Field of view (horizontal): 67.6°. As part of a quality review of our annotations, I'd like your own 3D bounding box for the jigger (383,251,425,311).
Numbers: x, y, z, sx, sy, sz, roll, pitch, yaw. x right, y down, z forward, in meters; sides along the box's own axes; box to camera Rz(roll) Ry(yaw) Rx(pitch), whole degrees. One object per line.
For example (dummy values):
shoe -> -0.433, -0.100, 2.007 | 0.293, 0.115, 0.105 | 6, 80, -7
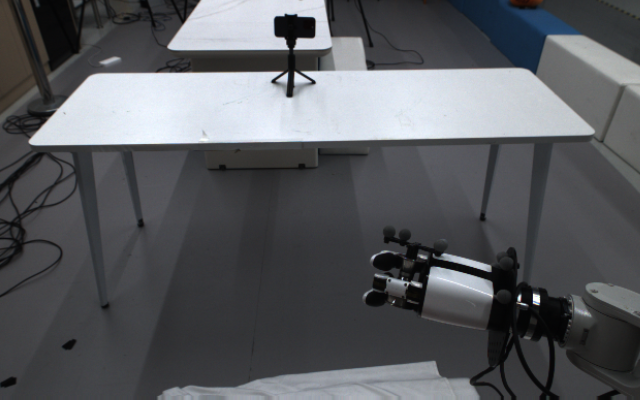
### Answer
jigger -> 0.121, 0.112, 0.672 | 0.043, 0.071, 0.043 | 14, 1, 0
